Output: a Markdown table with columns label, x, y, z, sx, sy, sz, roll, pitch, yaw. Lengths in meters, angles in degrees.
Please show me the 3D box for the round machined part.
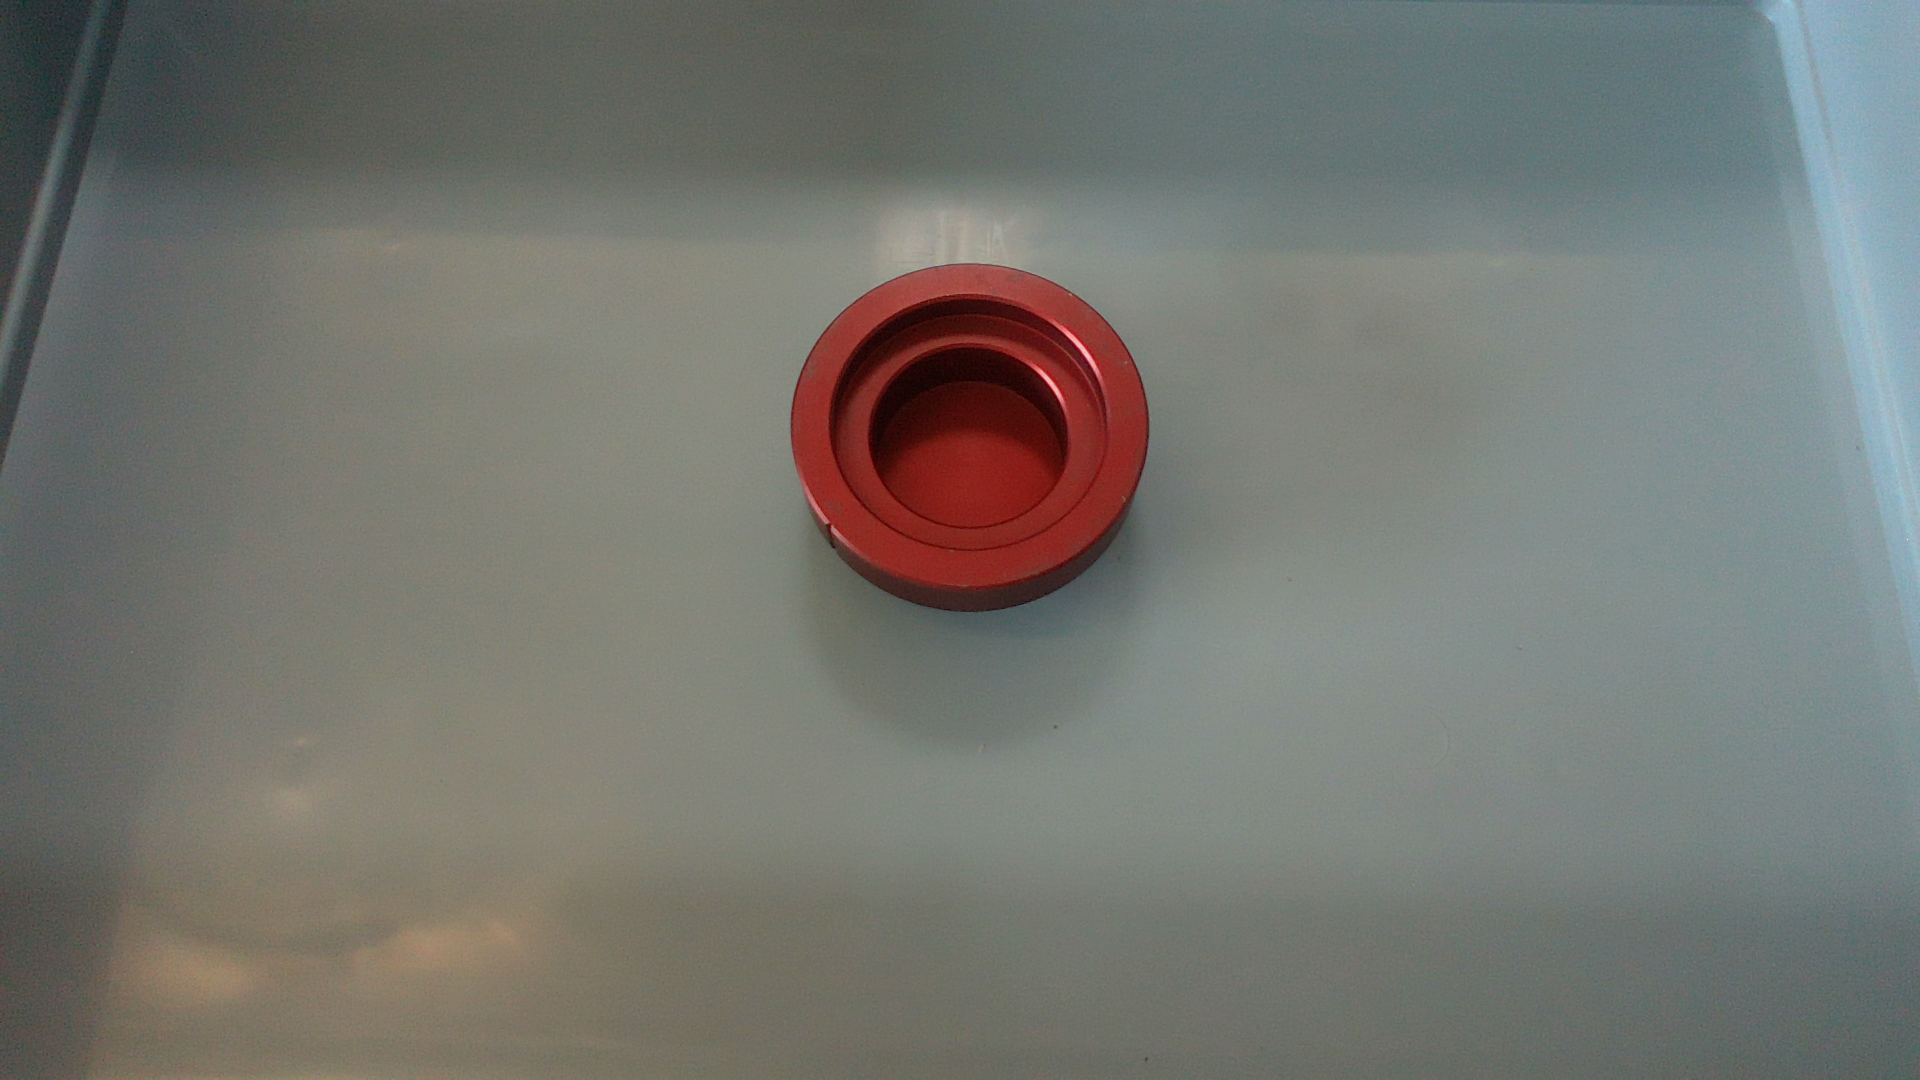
| label | x | y | z | sx | sy | sz | roll | pitch | yaw |
| --- | --- | --- | --- | --- | --- | --- | --- | --- | --- |
| round machined part | 0.003 | -0.026 | 0.392 | 0.098 | 0.042 | 0.098 | 0 | 70 | 0 |
